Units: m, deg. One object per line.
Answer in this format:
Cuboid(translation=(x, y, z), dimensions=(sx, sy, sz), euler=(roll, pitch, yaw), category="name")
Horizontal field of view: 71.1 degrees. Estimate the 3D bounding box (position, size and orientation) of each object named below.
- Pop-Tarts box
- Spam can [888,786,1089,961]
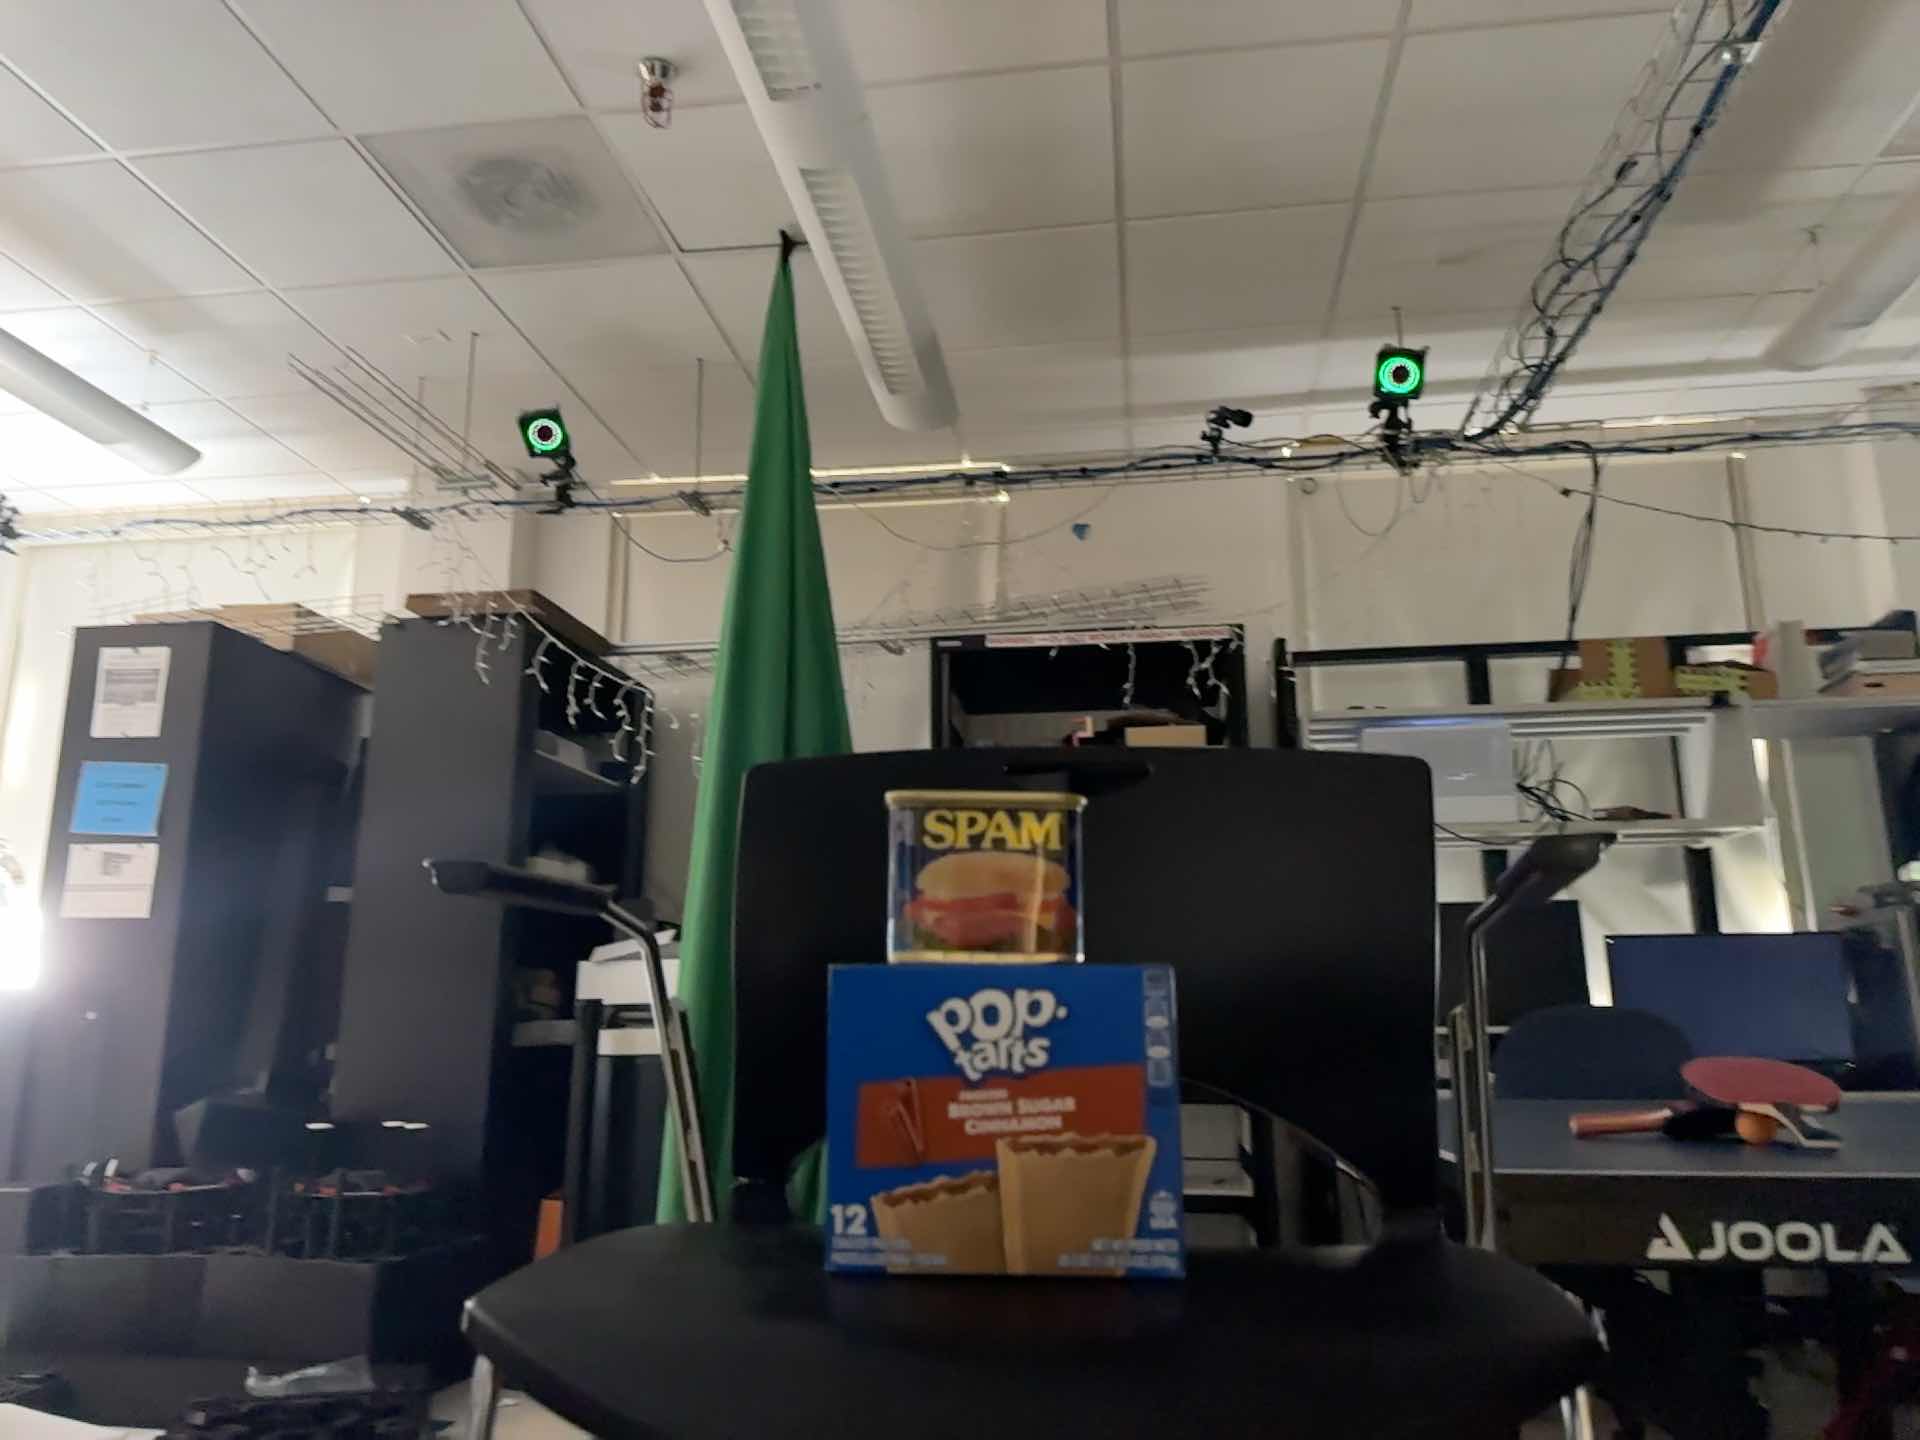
Cuboid(translation=(0.024, 0.192, 0.667), dimensions=(0.161, 0.135, 0.075), euler=(-1, -9, 4), category="Pop-Tarts box")
Cuboid(translation=(0.013, 0.078, 0.682), dimensions=(0.100, 0.083, 0.056), euler=(1, -9, 2), category="Spam can")
